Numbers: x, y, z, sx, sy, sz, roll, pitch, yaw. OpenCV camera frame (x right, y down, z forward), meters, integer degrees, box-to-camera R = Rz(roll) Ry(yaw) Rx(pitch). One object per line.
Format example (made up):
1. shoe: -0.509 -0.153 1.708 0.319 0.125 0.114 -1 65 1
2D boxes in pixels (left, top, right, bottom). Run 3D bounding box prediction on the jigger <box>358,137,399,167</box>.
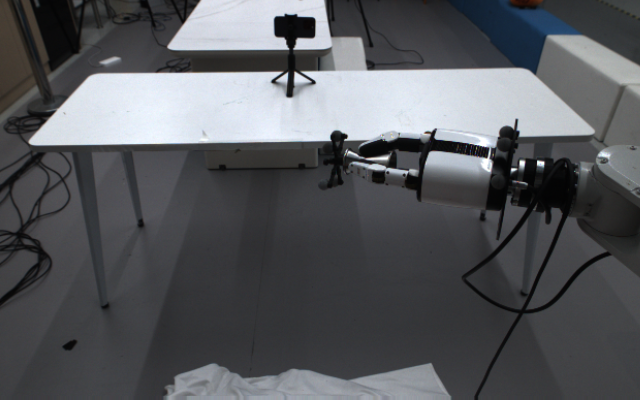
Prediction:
1. jigger: 0.077 -0.056 0.692 0.071 0.043 0.043 8 34 23
